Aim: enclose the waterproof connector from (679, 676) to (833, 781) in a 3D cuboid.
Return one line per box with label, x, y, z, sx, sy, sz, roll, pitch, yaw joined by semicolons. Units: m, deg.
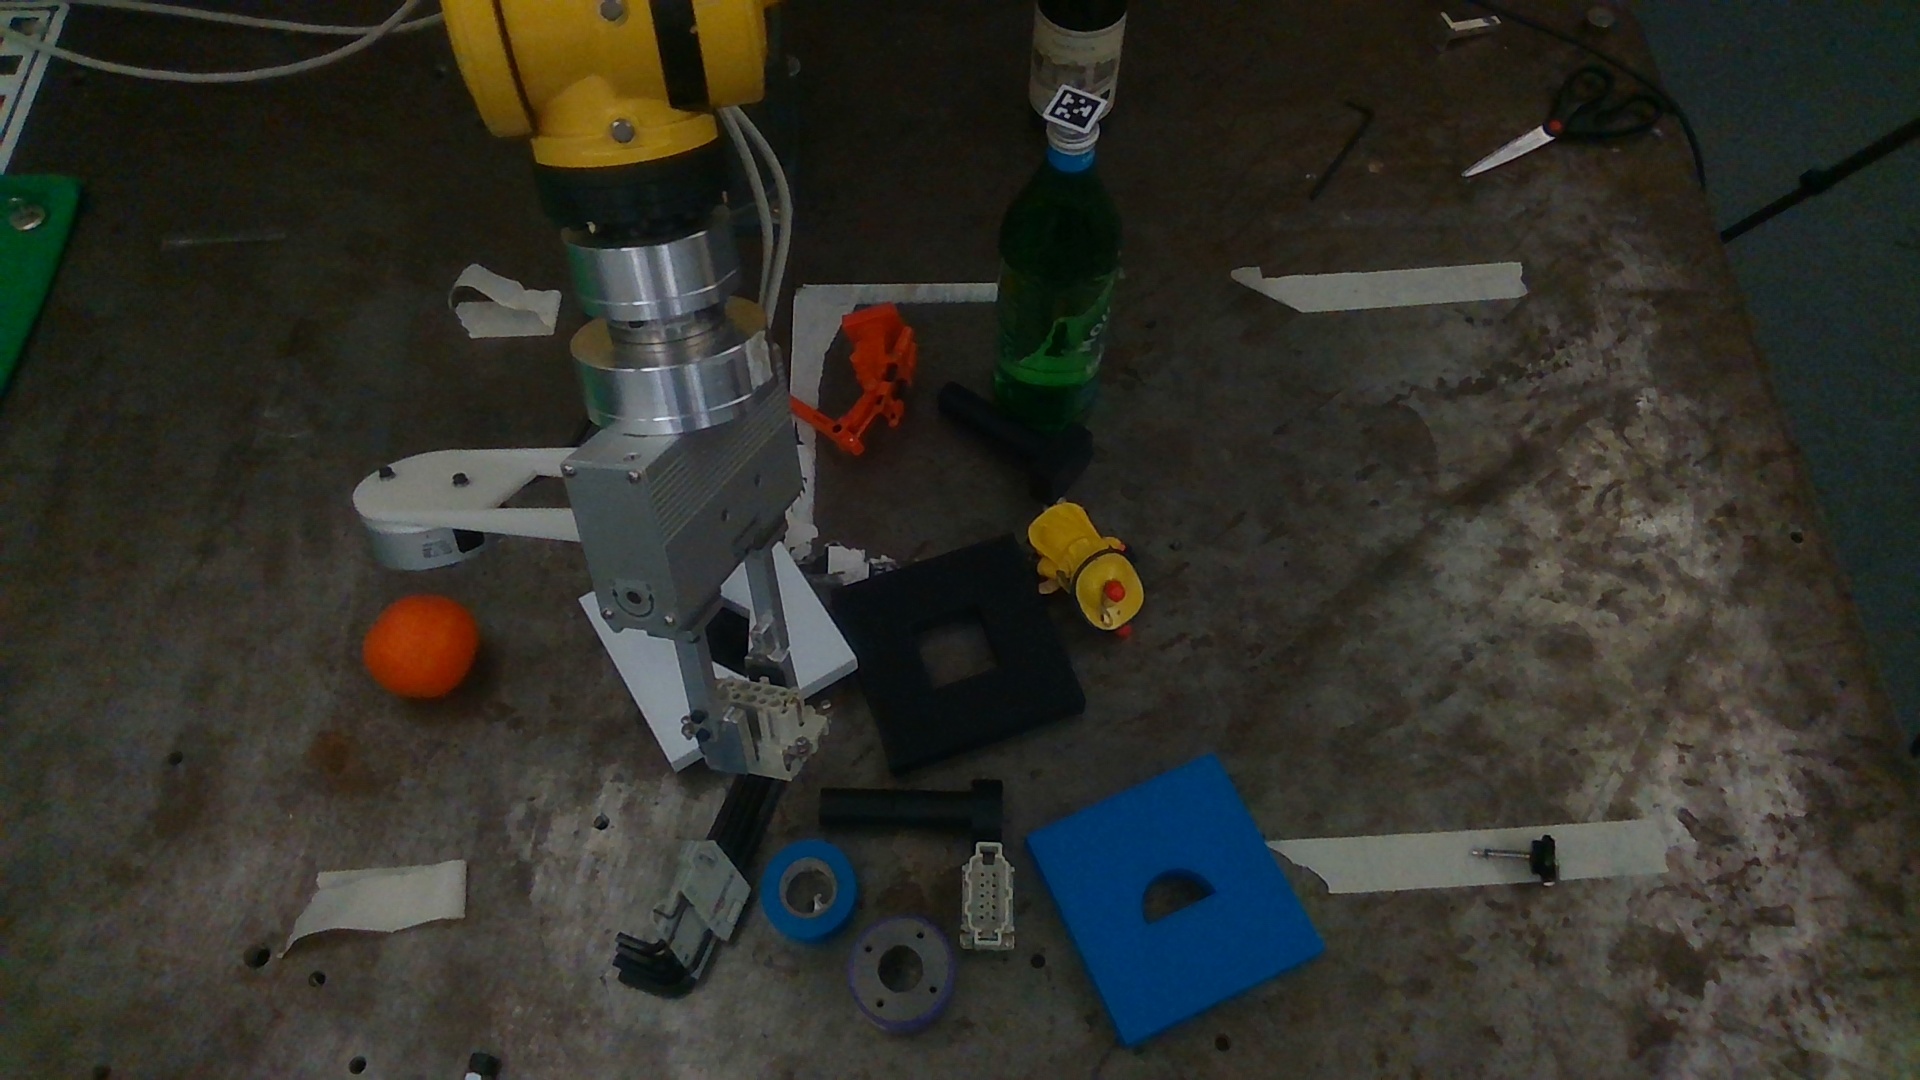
waterproof connector;-0.097;0.087;0.662;0.069;0.038;0.036;6;40;20
